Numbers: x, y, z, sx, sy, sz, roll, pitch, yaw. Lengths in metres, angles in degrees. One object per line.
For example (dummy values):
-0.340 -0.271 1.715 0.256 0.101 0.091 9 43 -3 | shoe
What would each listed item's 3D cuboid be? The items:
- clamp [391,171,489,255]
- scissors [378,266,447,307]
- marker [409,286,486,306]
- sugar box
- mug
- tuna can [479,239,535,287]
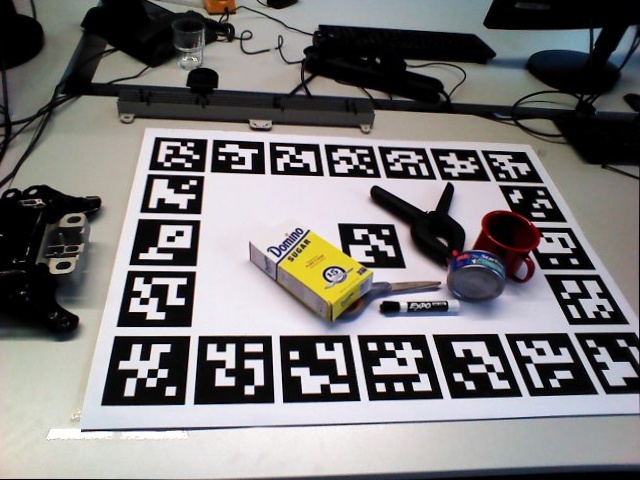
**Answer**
0.239 -0.046 0.924 0.165 0.037 0.202 -10 51 -17 | clamp
0.144 0.055 0.811 0.202 0.016 0.087 -9 46 -18 | scissors
0.195 0.086 0.793 0.121 0.020 0.019 -5 49 -12 | marker
0.037 0.031 0.796 0.177 0.045 0.092 35 51 30 | sugar box
0.344 -0.002 0.858 0.093 0.082 0.117 -24 52 -28 | mug
0.294 0.035 0.809 0.086 0.086 0.033 11 47 2 | tuna can
